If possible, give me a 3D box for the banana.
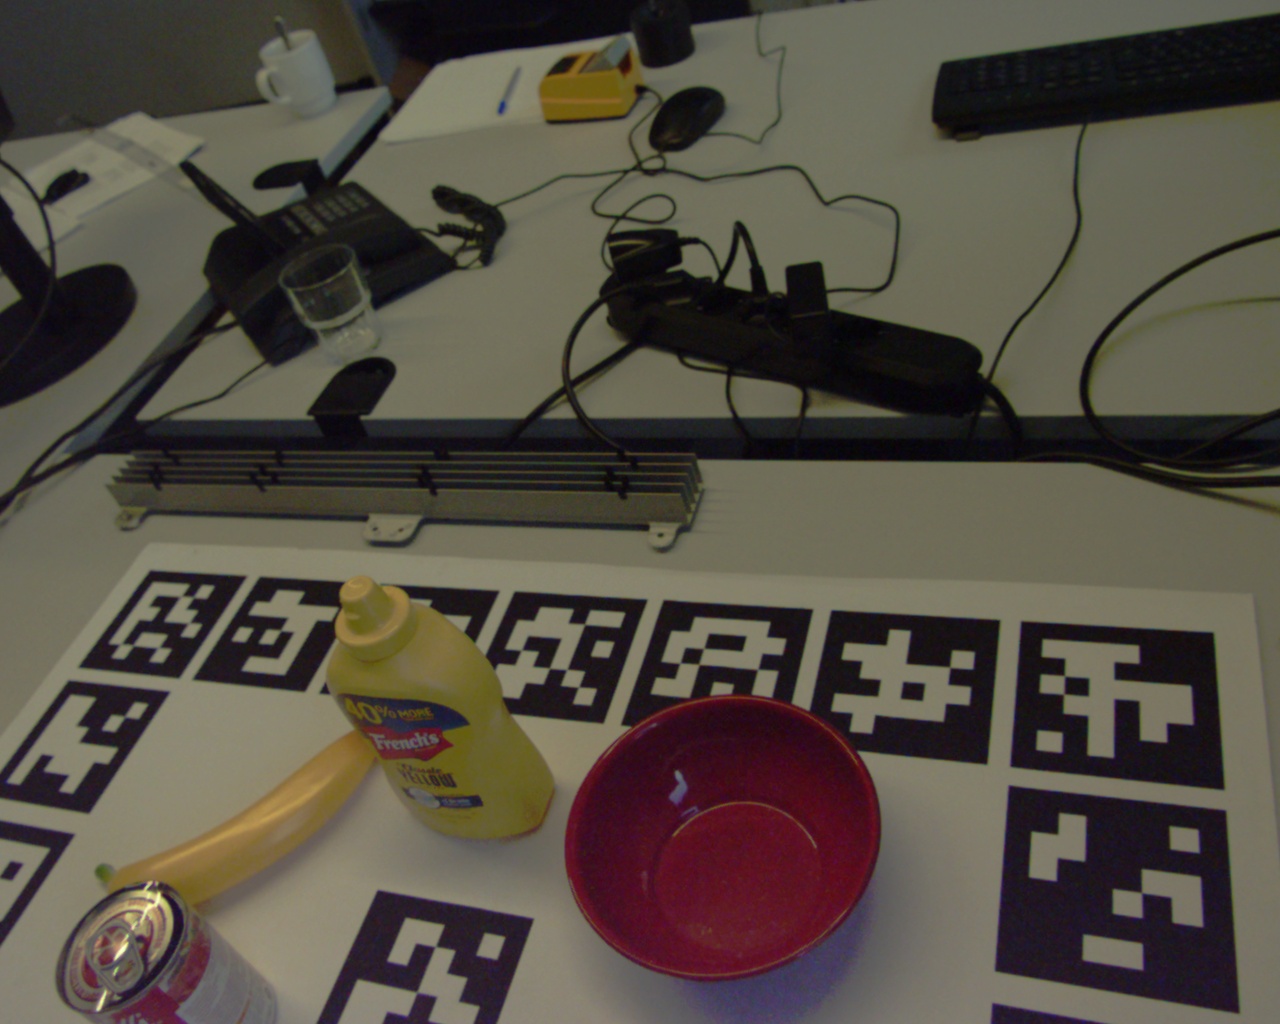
[{"bbox_3d":[-0.251,0.188,0.738,0.196,0.038,0.075,-31,32,-13],"label":"banana"}]

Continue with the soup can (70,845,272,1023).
[{"bbox_3d":[-0.252,0.239,0.622,0.068,0.101,0.068,-9,41,7],"label":"soup can"}]

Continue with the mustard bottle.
[{"bbox_3d":[-0.123,0.100,0.652,0.097,0.190,0.058,2,42,22],"label":"mustard bottle"}]

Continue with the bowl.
[{"bbox_3d":[0.050,0.174,0.628,0.162,0.055,0.162,-12,40,10],"label":"bowl"}]
